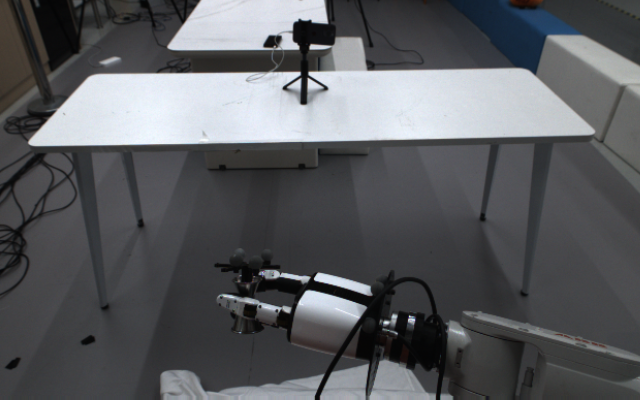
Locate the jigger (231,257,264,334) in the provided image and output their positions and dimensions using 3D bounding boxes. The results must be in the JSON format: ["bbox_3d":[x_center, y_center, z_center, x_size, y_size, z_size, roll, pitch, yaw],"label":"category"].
[{"bbox_3d":[-0.096,0.138,0.648,0.043,0.071,0.043,0,2,0],"label":"jigger"}]
